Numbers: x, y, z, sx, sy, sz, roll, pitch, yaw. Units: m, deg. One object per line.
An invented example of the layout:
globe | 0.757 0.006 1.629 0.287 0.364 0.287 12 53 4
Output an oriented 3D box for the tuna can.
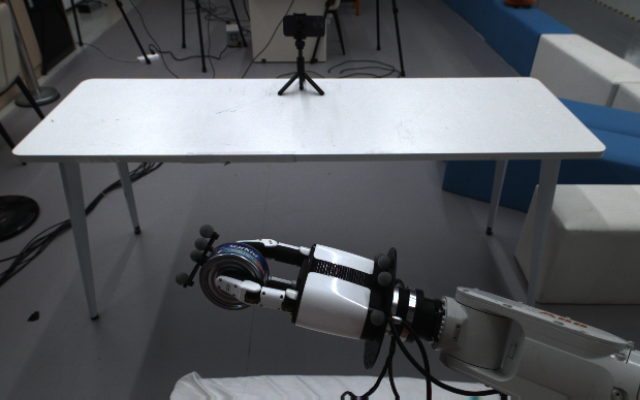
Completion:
tuna can | -0.108 0.104 0.626 0.085 0.085 0.034 4 21 2
